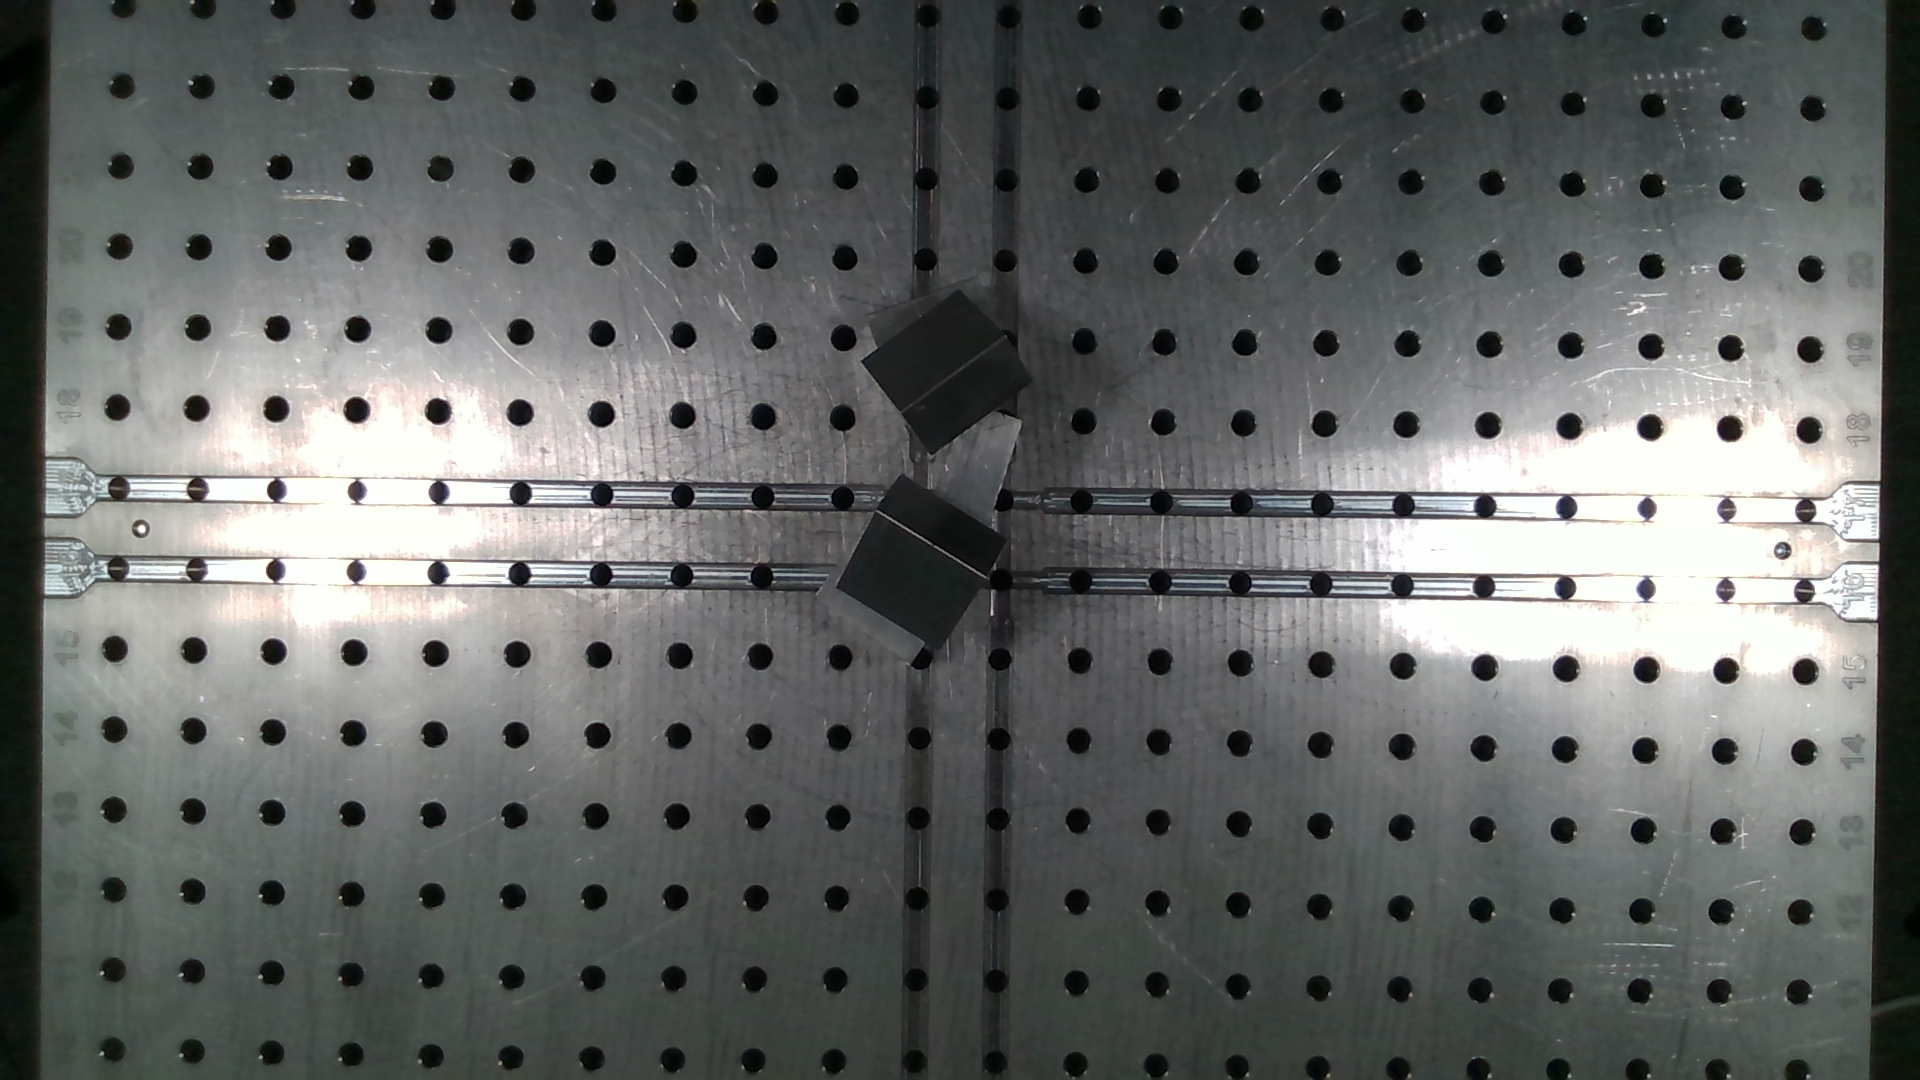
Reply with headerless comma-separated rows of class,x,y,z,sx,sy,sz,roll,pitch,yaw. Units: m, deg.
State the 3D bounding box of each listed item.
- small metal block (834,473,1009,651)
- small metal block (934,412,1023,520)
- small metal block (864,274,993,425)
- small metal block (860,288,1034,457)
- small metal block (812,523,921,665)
small metal block,-0.016,0.009,0.550,0.050,0.025,0.050,31,134,-1
small metal block,0.005,-0.028,0.577,0.025,0.050,0.050,19,90,0
small metal block,-0.008,-0.079,0.589,0.050,0.025,0.050,-20,90,0
small metal block,-0.006,-0.068,0.548,0.050,0.050,0.025,-36,129,0
small metal block,-0.027,0.018,0.590,0.050,0.025,0.050,35,90,0
